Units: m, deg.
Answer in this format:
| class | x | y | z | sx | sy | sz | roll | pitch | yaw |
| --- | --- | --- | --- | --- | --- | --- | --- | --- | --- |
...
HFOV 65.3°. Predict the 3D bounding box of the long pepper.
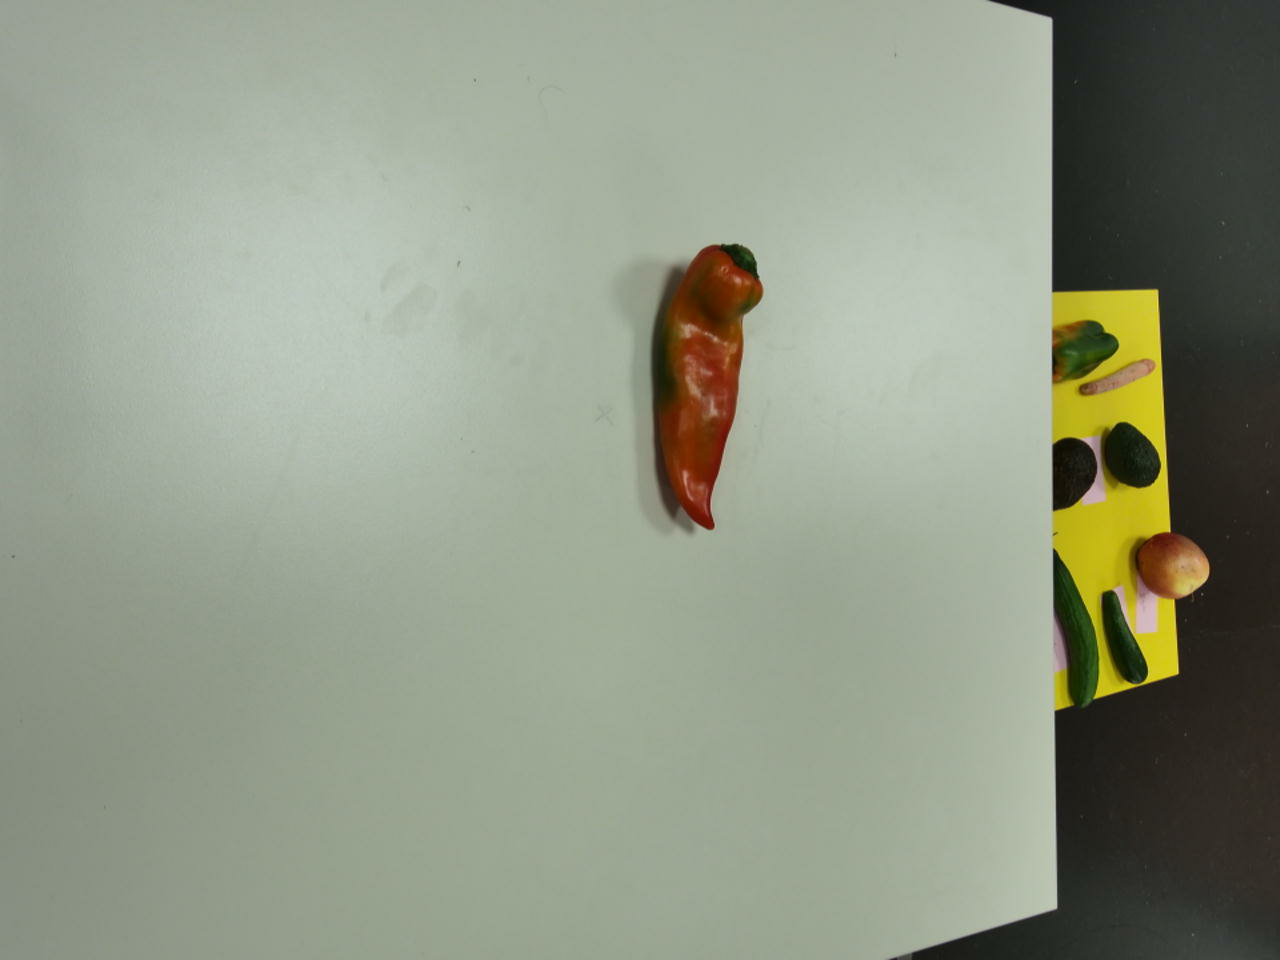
| class | x | y | z | sx | sy | sz | roll | pitch | yaw |
| --- | --- | --- | --- | --- | --- | --- | --- | --- | --- |
| long pepper | 0.050 | -0.066 | 0.698 | 0.066 | 0.065 | 0.199 | 5 | 88 | -28 |
